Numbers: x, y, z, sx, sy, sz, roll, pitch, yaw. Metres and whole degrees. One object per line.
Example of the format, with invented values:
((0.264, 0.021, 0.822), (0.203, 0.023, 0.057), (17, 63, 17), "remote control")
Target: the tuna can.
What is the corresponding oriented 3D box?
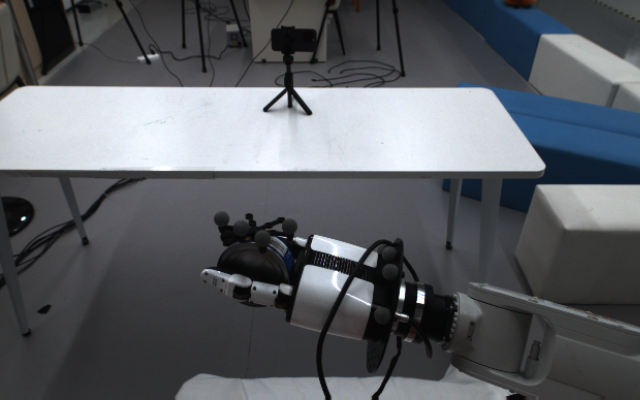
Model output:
((-0.071, 0.079, 0.563), (0.085, 0.085, 0.034), (9, 23, 10), "tuna can")
